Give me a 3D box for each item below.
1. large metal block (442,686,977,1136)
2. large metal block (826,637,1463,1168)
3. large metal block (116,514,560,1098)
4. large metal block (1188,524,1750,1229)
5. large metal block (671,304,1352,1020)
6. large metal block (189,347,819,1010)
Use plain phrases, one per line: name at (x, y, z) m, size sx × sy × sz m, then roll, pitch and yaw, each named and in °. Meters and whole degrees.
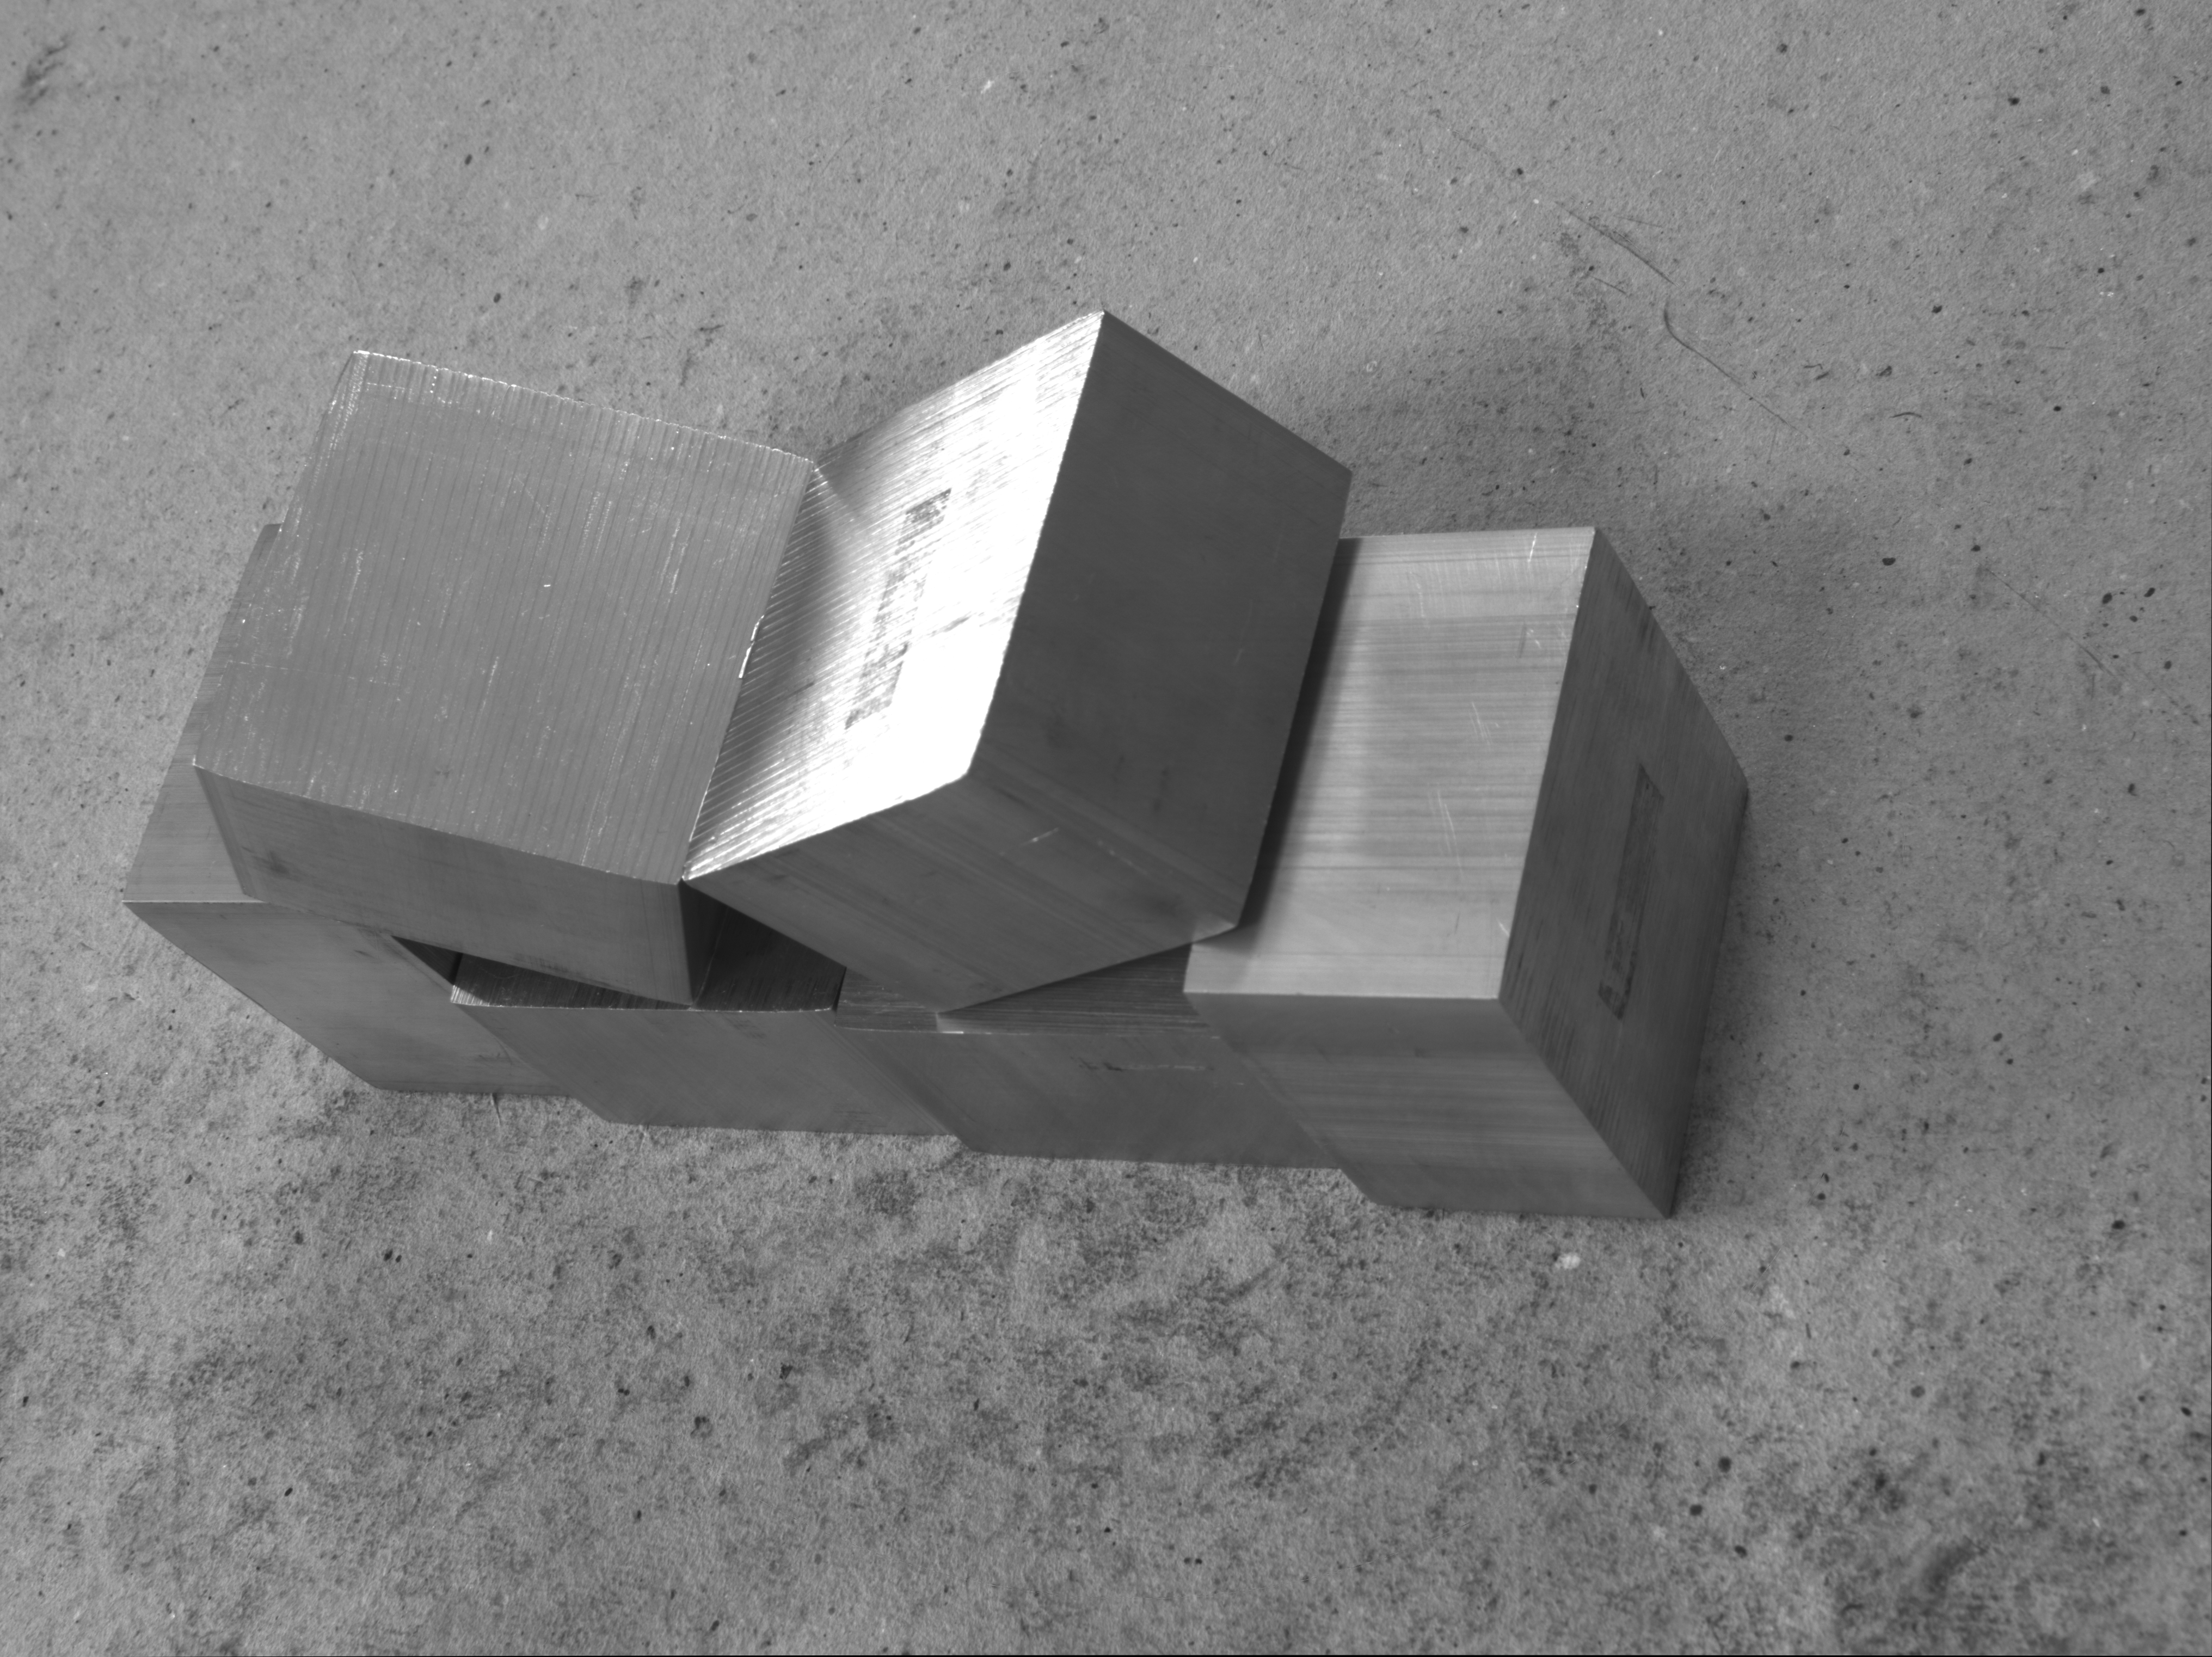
large metal block at (-0.061, 0.007, 0.657) m, size 0.080 × 0.050 × 0.080 m, roll 0°, pitch 62°, yaw 29°
large metal block at (0.009, 0.009, 0.617) m, size 0.080 × 0.050 × 0.080 m, roll 0°, pitch 62°, yaw 29°
large metal block at (-0.125, -0.004, 0.679) m, size 0.050 × 0.080 × 0.080 m, roll -1°, pitch 60°, yaw 29°
large metal block at (0.060, 0.009, 0.573) m, size 0.050 × 0.080 × 0.080 m, roll 0°, pitch 62°, yaw 28°
large metal block at (-0.015, -0.023, 0.566) m, size 0.080 × 0.050 × 0.080 m, roll -19°, pitch 49°, yaw 51°
large metal block at (-0.096, -0.025, 0.610) m, size 0.080 × 0.050 × 0.080 m, roll 14°, pitch 65°, yaw 2°
